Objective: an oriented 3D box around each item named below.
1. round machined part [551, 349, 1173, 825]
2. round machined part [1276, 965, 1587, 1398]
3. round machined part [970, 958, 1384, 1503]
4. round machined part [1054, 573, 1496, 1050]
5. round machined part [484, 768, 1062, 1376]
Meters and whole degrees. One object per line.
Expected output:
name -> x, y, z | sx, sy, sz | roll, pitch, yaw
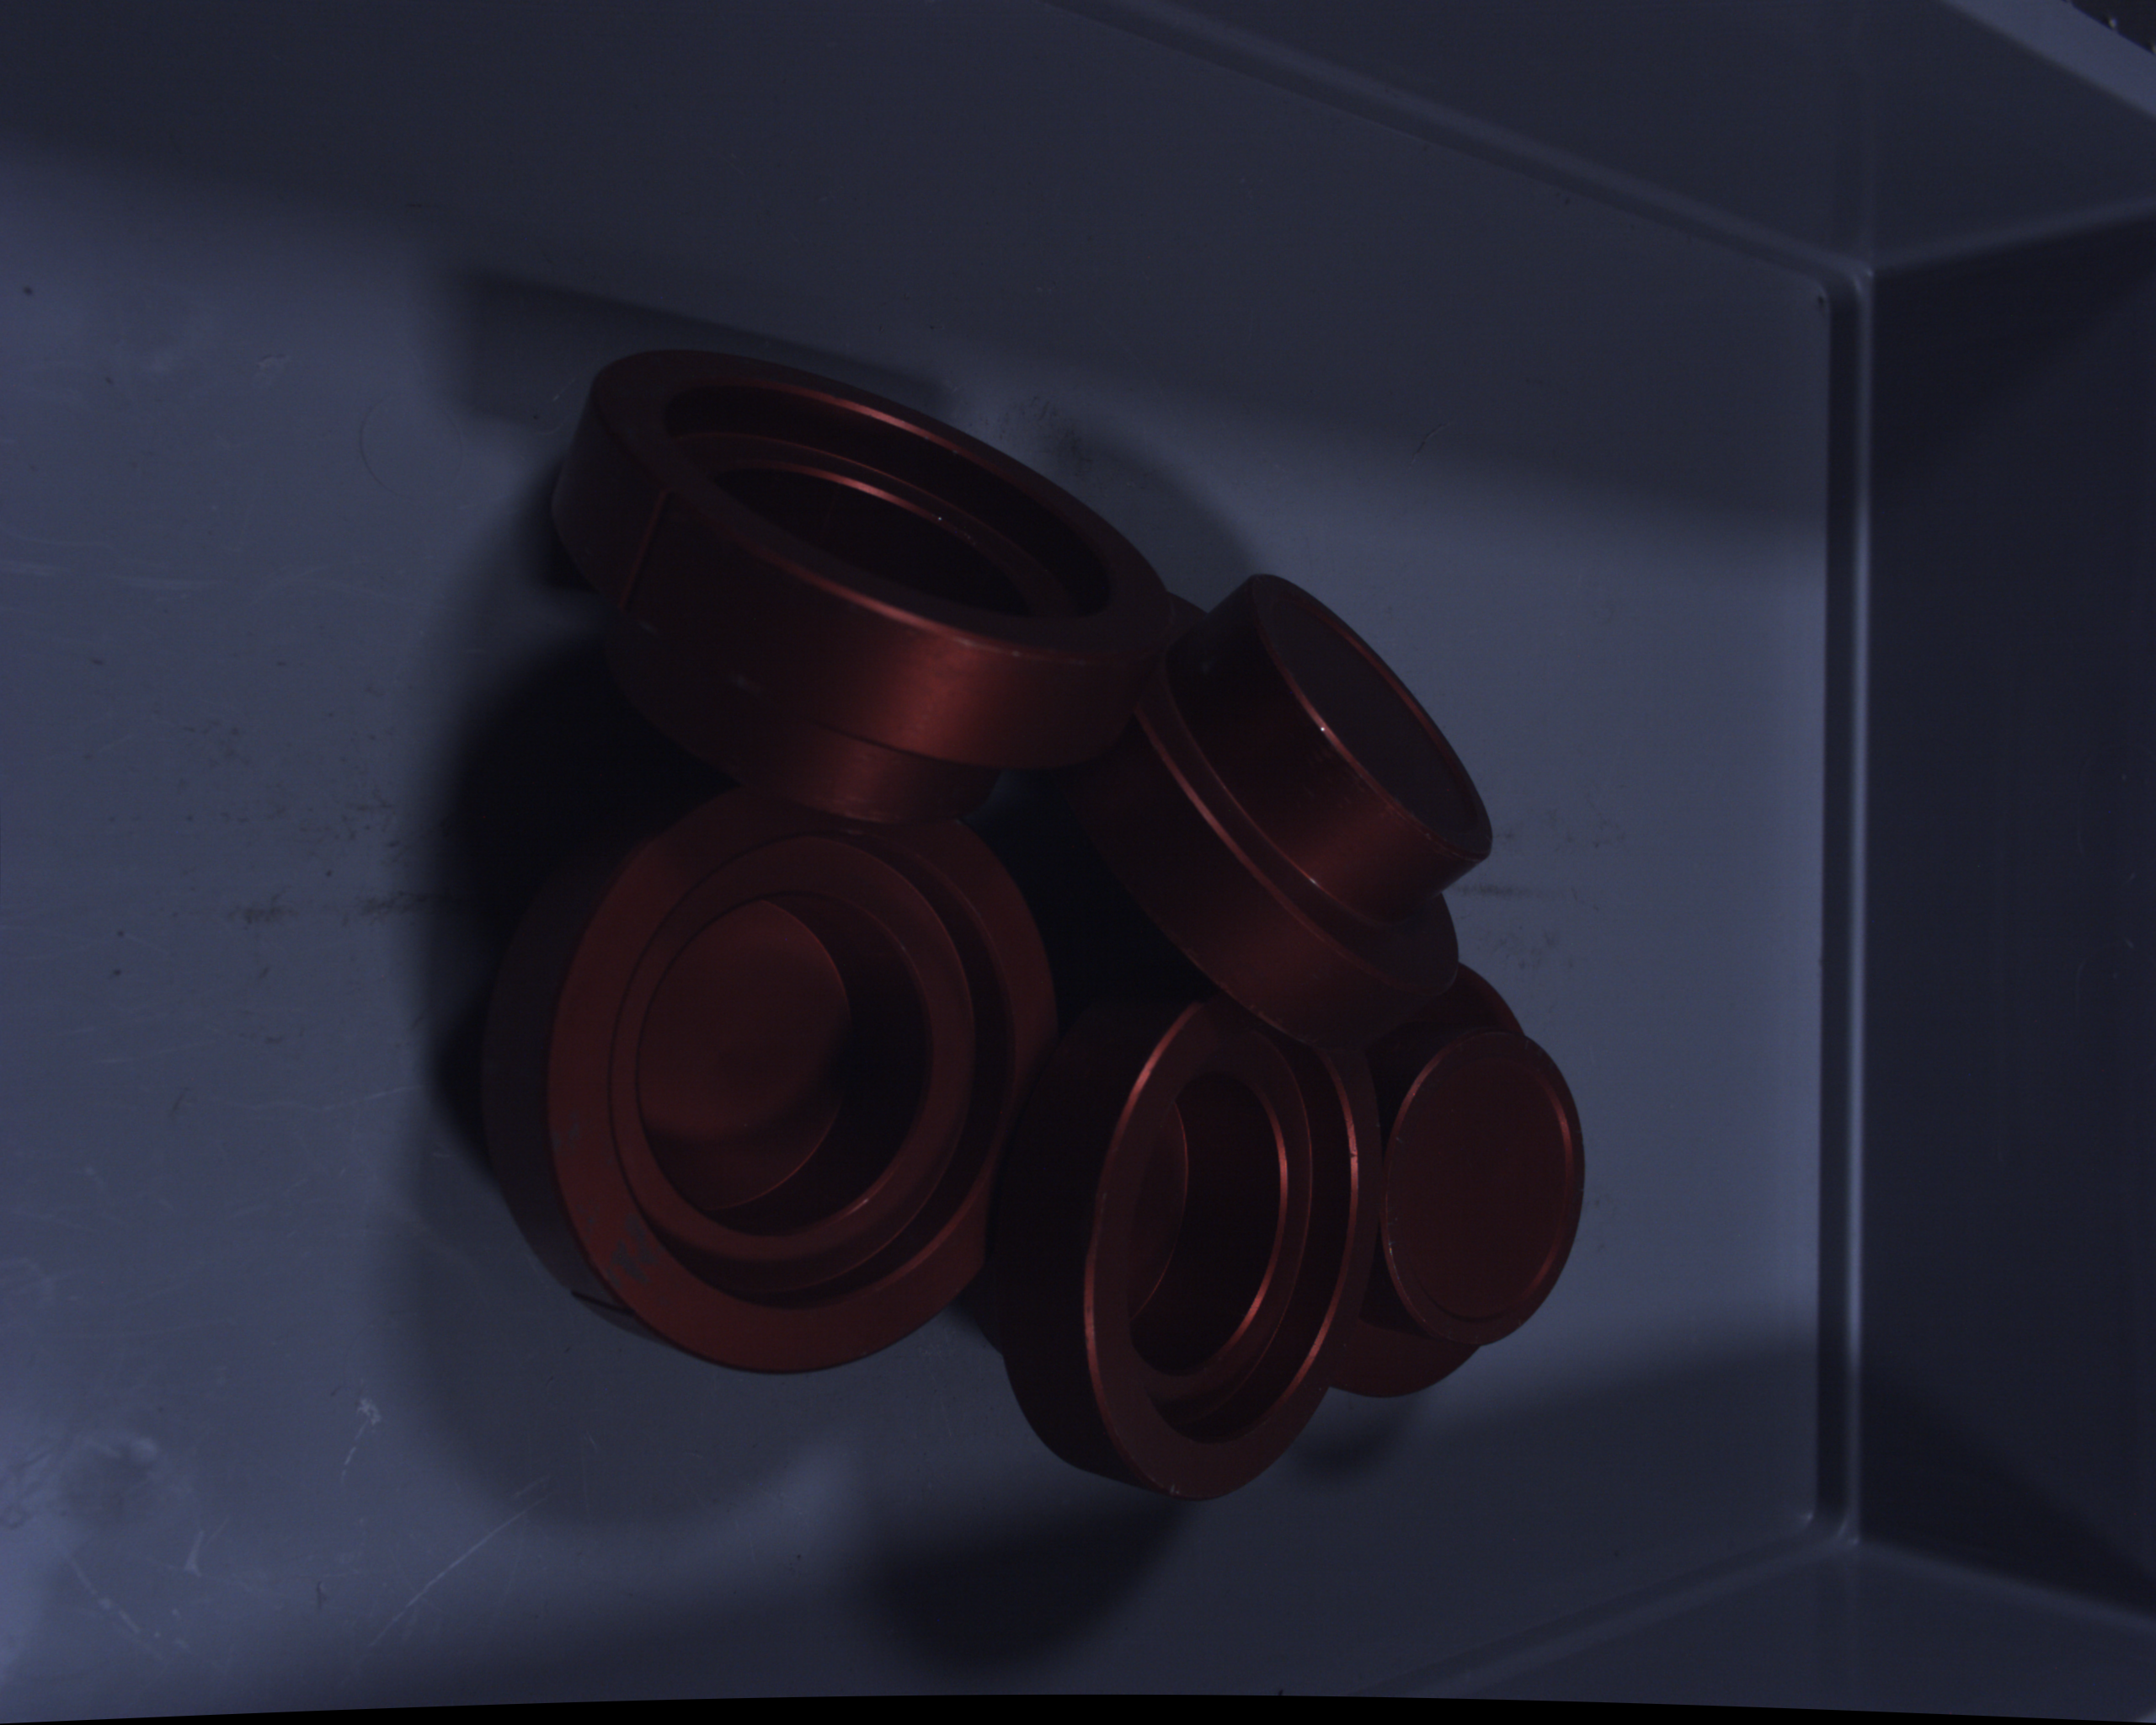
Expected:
round machined part -> -0.037, -0.042, 0.340 | 0.099, 0.098, 0.042 | 3, 124, -40
round machined part -> 0.074, 0.068, 0.458 | 0.099, 0.042, 0.097 | 0, 90, -40
round machined part -> 0.016, 0.066, 0.393 | 0.099, 0.042, 0.097 | -13, 107, -52
round machined part -> 0.041, -0.016, 0.394 | 0.098, 0.042, 0.098 | 39, 25, -22
round machined part -> -0.053, 0.033, 0.349 | 0.099, 0.042, 0.097 | 0, 90, -40
